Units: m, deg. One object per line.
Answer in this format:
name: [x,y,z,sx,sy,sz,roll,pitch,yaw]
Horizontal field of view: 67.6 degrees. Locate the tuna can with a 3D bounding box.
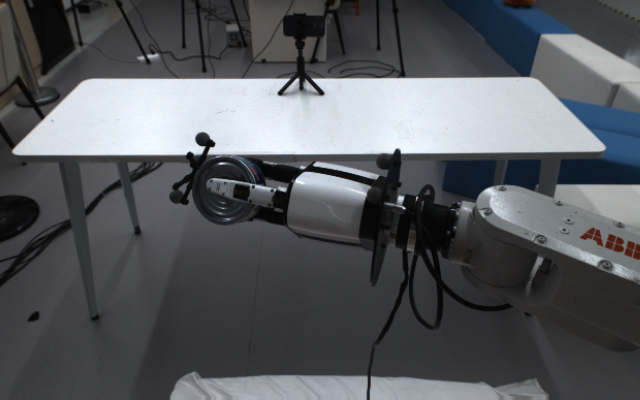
tuna can: [-0.108,-0.009,0.589,0.085,0.085,0.034,9,5,10]
